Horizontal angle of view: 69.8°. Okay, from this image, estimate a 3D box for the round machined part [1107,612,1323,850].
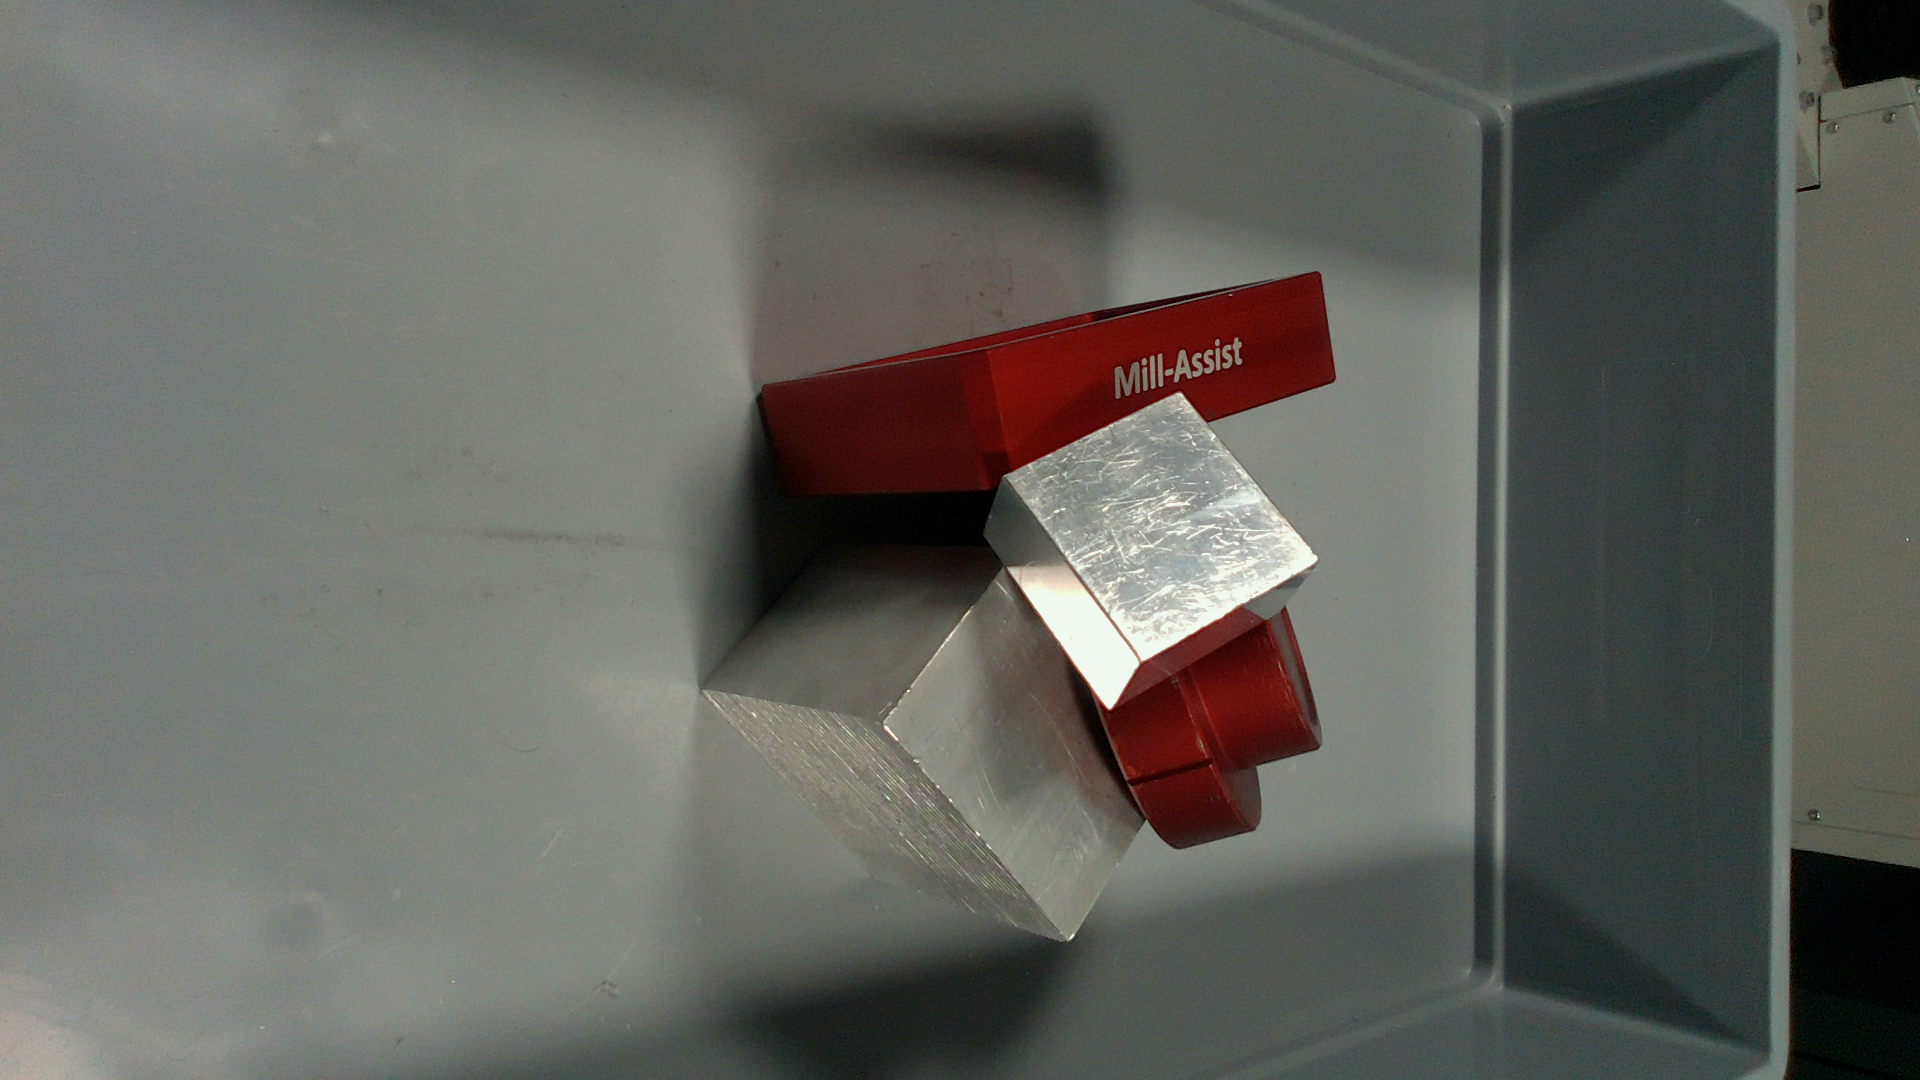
[{"bbox_3d":[0.063,0.026,0.354,0.098,0.042,0.098,-18,90,-75],"label":"round machined part"}]

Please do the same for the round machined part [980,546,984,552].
[{"bbox_3d":[0.044,0.012,0.414,0.098,0.042,0.098,0,90,-40],"label":"round machined part"}]

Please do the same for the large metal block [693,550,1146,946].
[{"bbox_3d":[-0.007,0.049,0.347,0.050,0.080,0.080,-51,120,-27],"label":"large metal block"}]

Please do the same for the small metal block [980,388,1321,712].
[{"bbox_3d":[0.041,0.001,0.302,0.050,0.025,0.050,-26,68,-24],"label":"small metal block"}]

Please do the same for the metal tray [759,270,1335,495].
[{"bbox_3d":[0.025,-0.042,0.365,0.131,0.090,0.030,-19,103,-38],"label":"metal tray"}]
